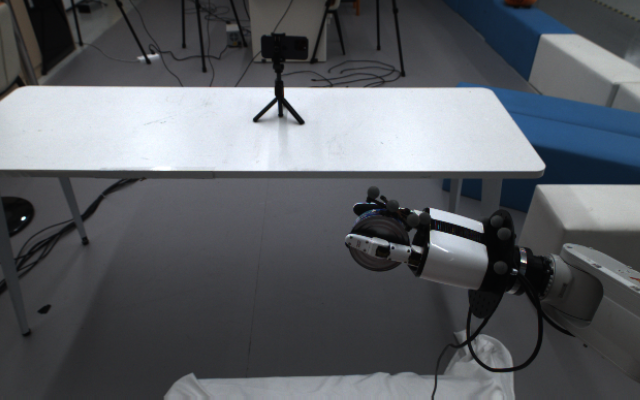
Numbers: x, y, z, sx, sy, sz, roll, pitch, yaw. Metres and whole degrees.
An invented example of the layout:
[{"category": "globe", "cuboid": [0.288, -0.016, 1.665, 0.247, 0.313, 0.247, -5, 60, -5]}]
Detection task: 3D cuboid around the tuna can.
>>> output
[{"category": "tuna can", "cuboid": [0.087, 0.054, 0.690, 0.085, 0.085, 0.034, 7, 17, 7]}]
